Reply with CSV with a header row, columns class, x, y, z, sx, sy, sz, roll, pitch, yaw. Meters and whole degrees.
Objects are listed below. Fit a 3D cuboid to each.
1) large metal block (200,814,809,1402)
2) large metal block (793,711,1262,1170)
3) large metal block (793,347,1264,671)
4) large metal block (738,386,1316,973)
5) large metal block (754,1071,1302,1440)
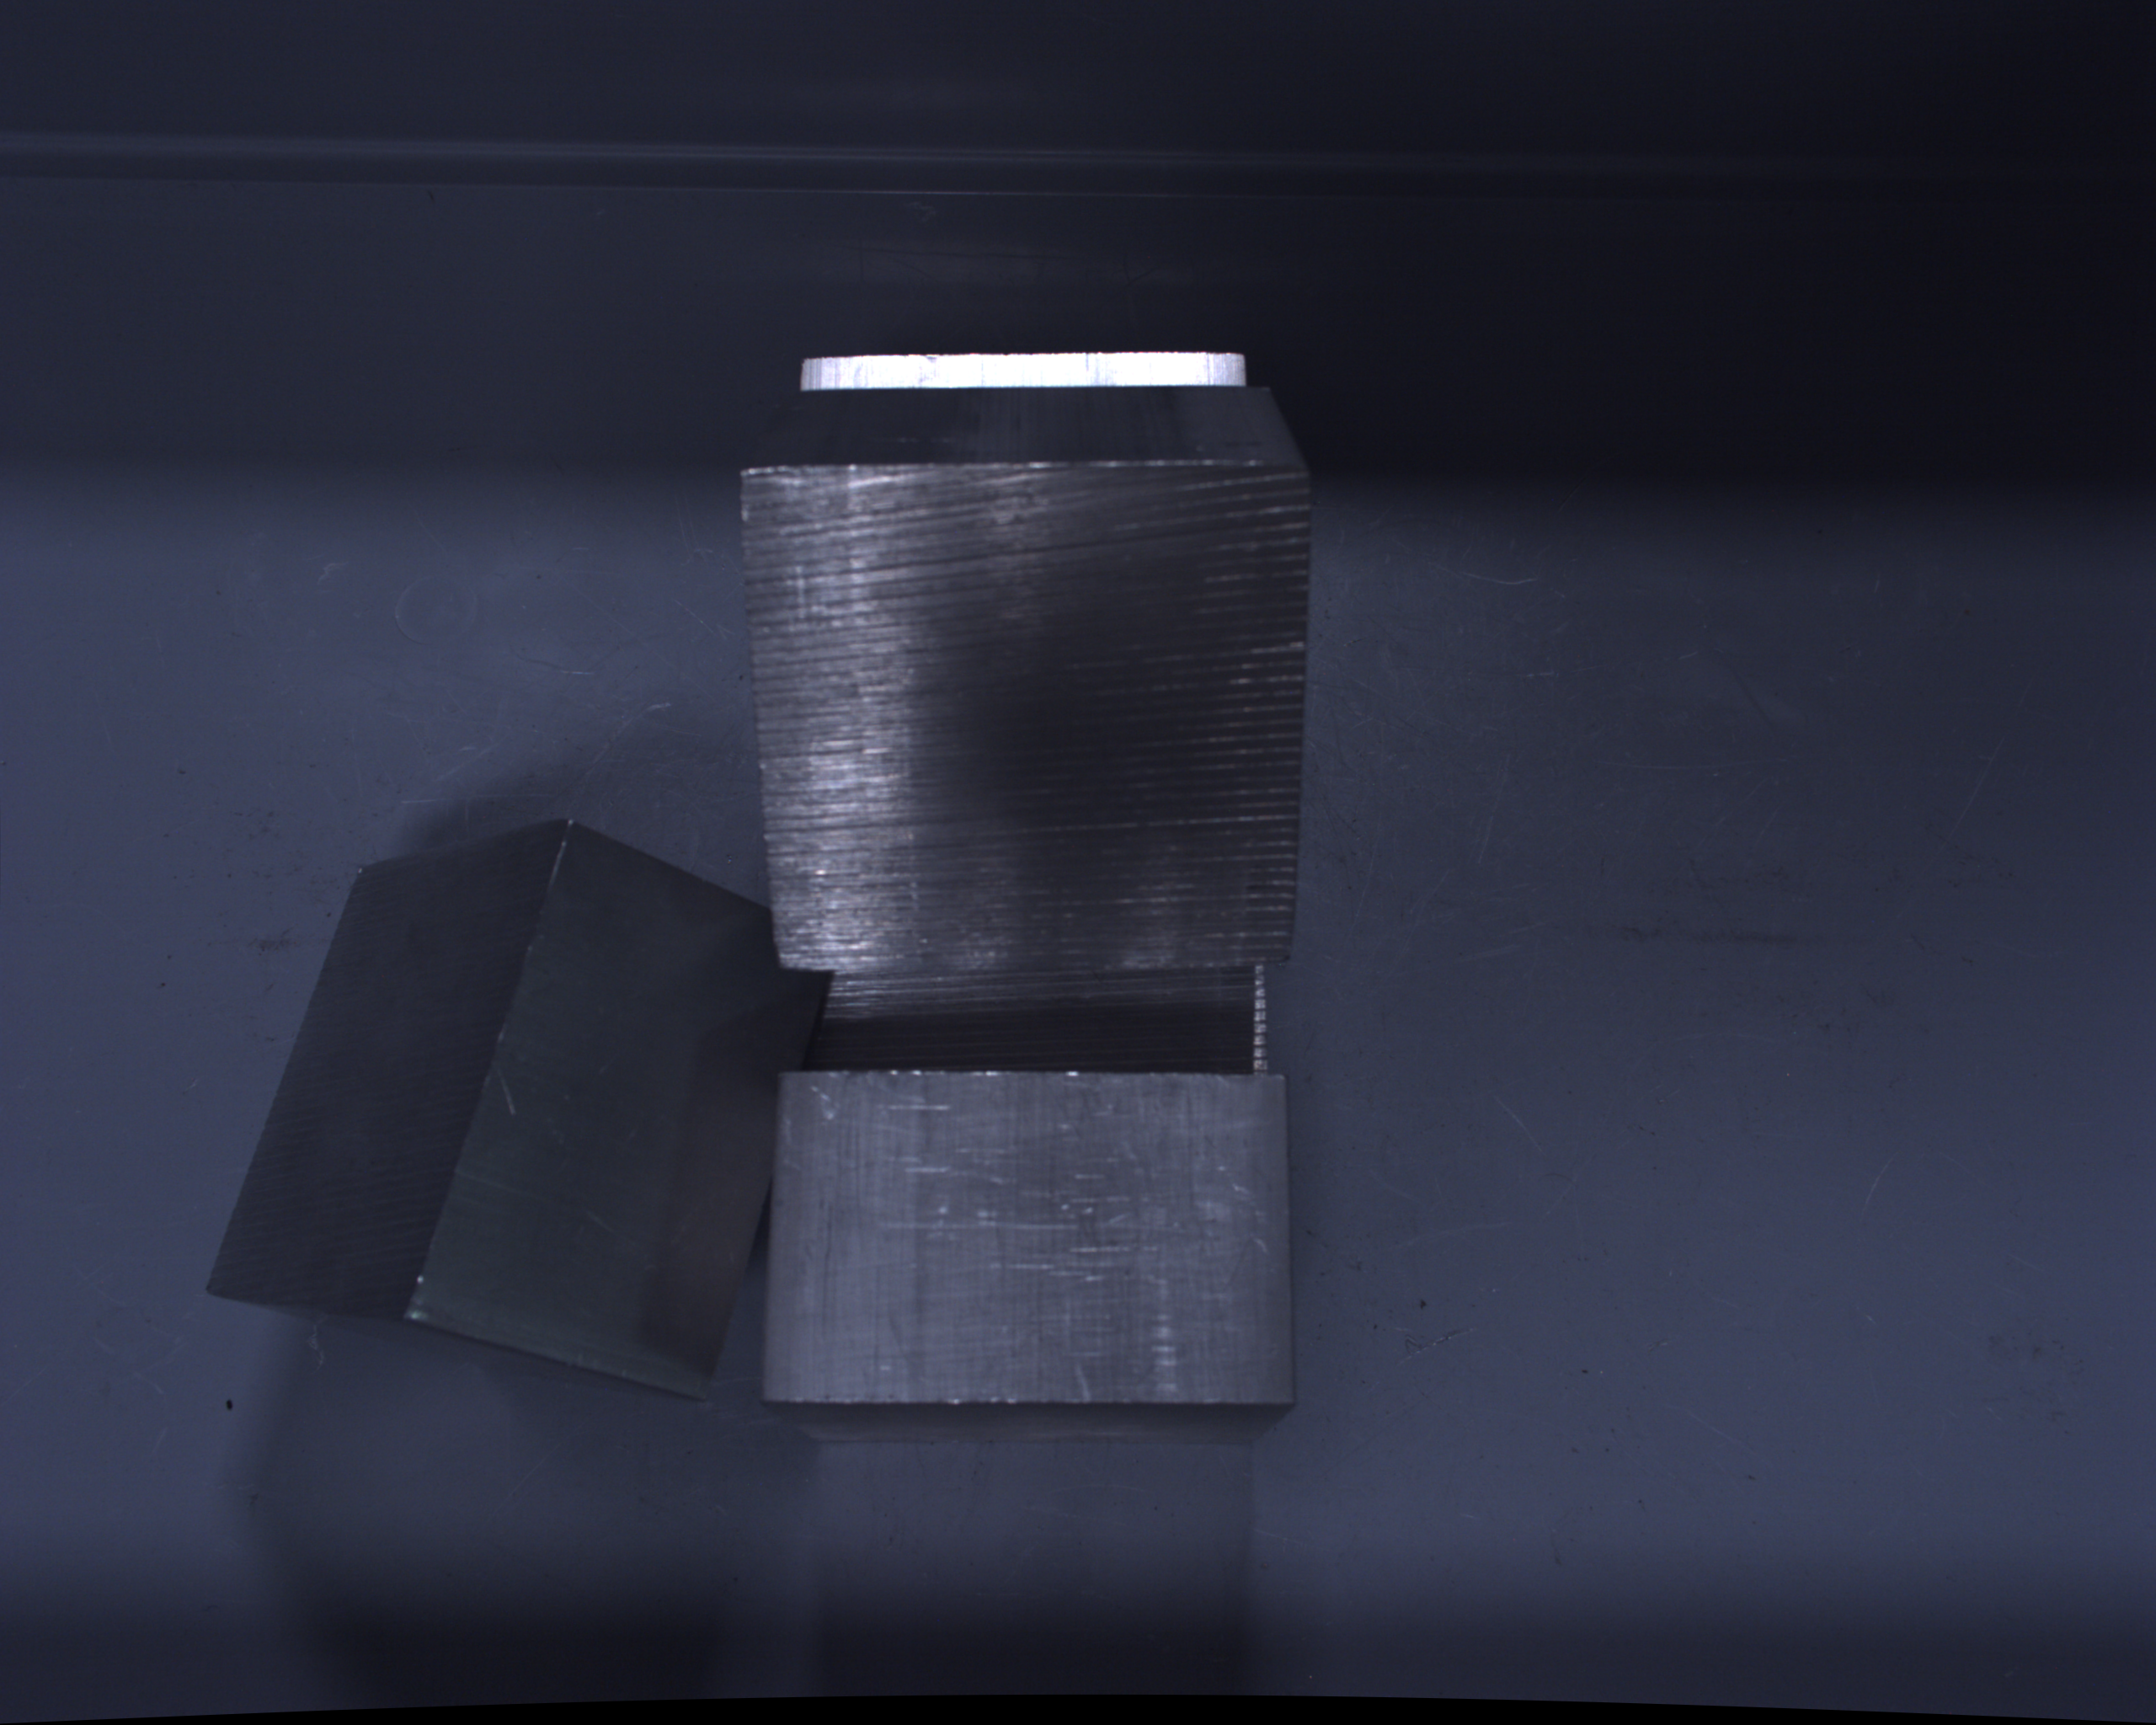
class,x,y,z,sx,sy,sz,roll,pitch,yaw
large metal block,-0.096,0.042,0.353,0.050,0.080,0.080,28,66,-36
large metal block,-0.009,0.013,0.392,0.081,0.050,0.080,-1,70,-1
large metal block,-0.009,-0.054,0.397,0.081,0.080,0.050,-1,70,-1
large metal block,-0.007,-0.030,0.330,0.081,0.079,0.050,-1,25,-1
large metal block,-0.007,0.069,0.352,0.081,0.080,0.050,0,70,0
